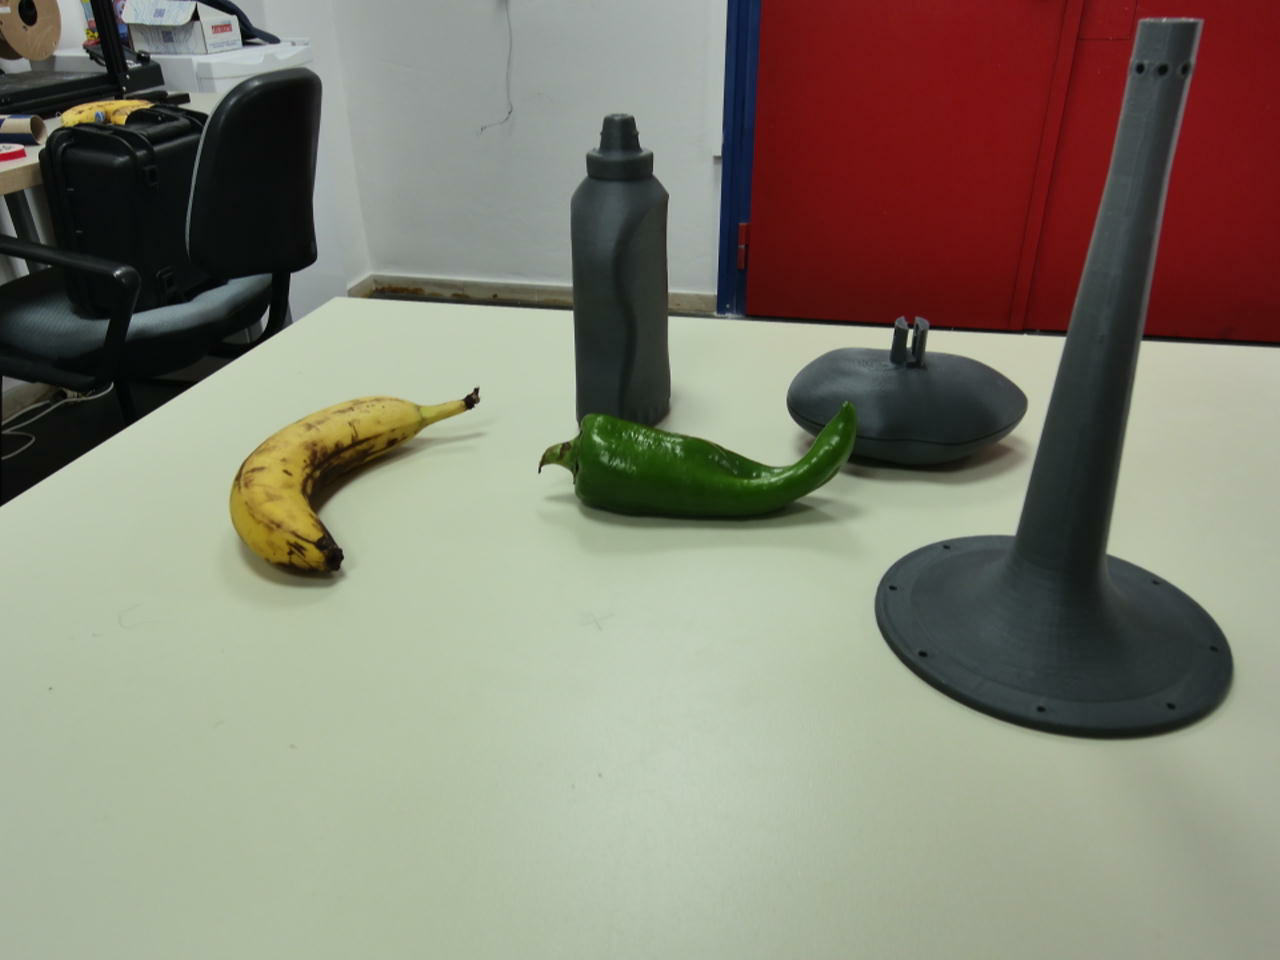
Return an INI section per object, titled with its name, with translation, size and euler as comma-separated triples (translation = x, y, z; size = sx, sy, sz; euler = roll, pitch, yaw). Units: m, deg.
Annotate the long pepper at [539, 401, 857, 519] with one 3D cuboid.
[long pepper]
translation = 0.029, -0.014, 0.549
size = 0.175, 0.065, 0.058
euler = 4, 26, 10
